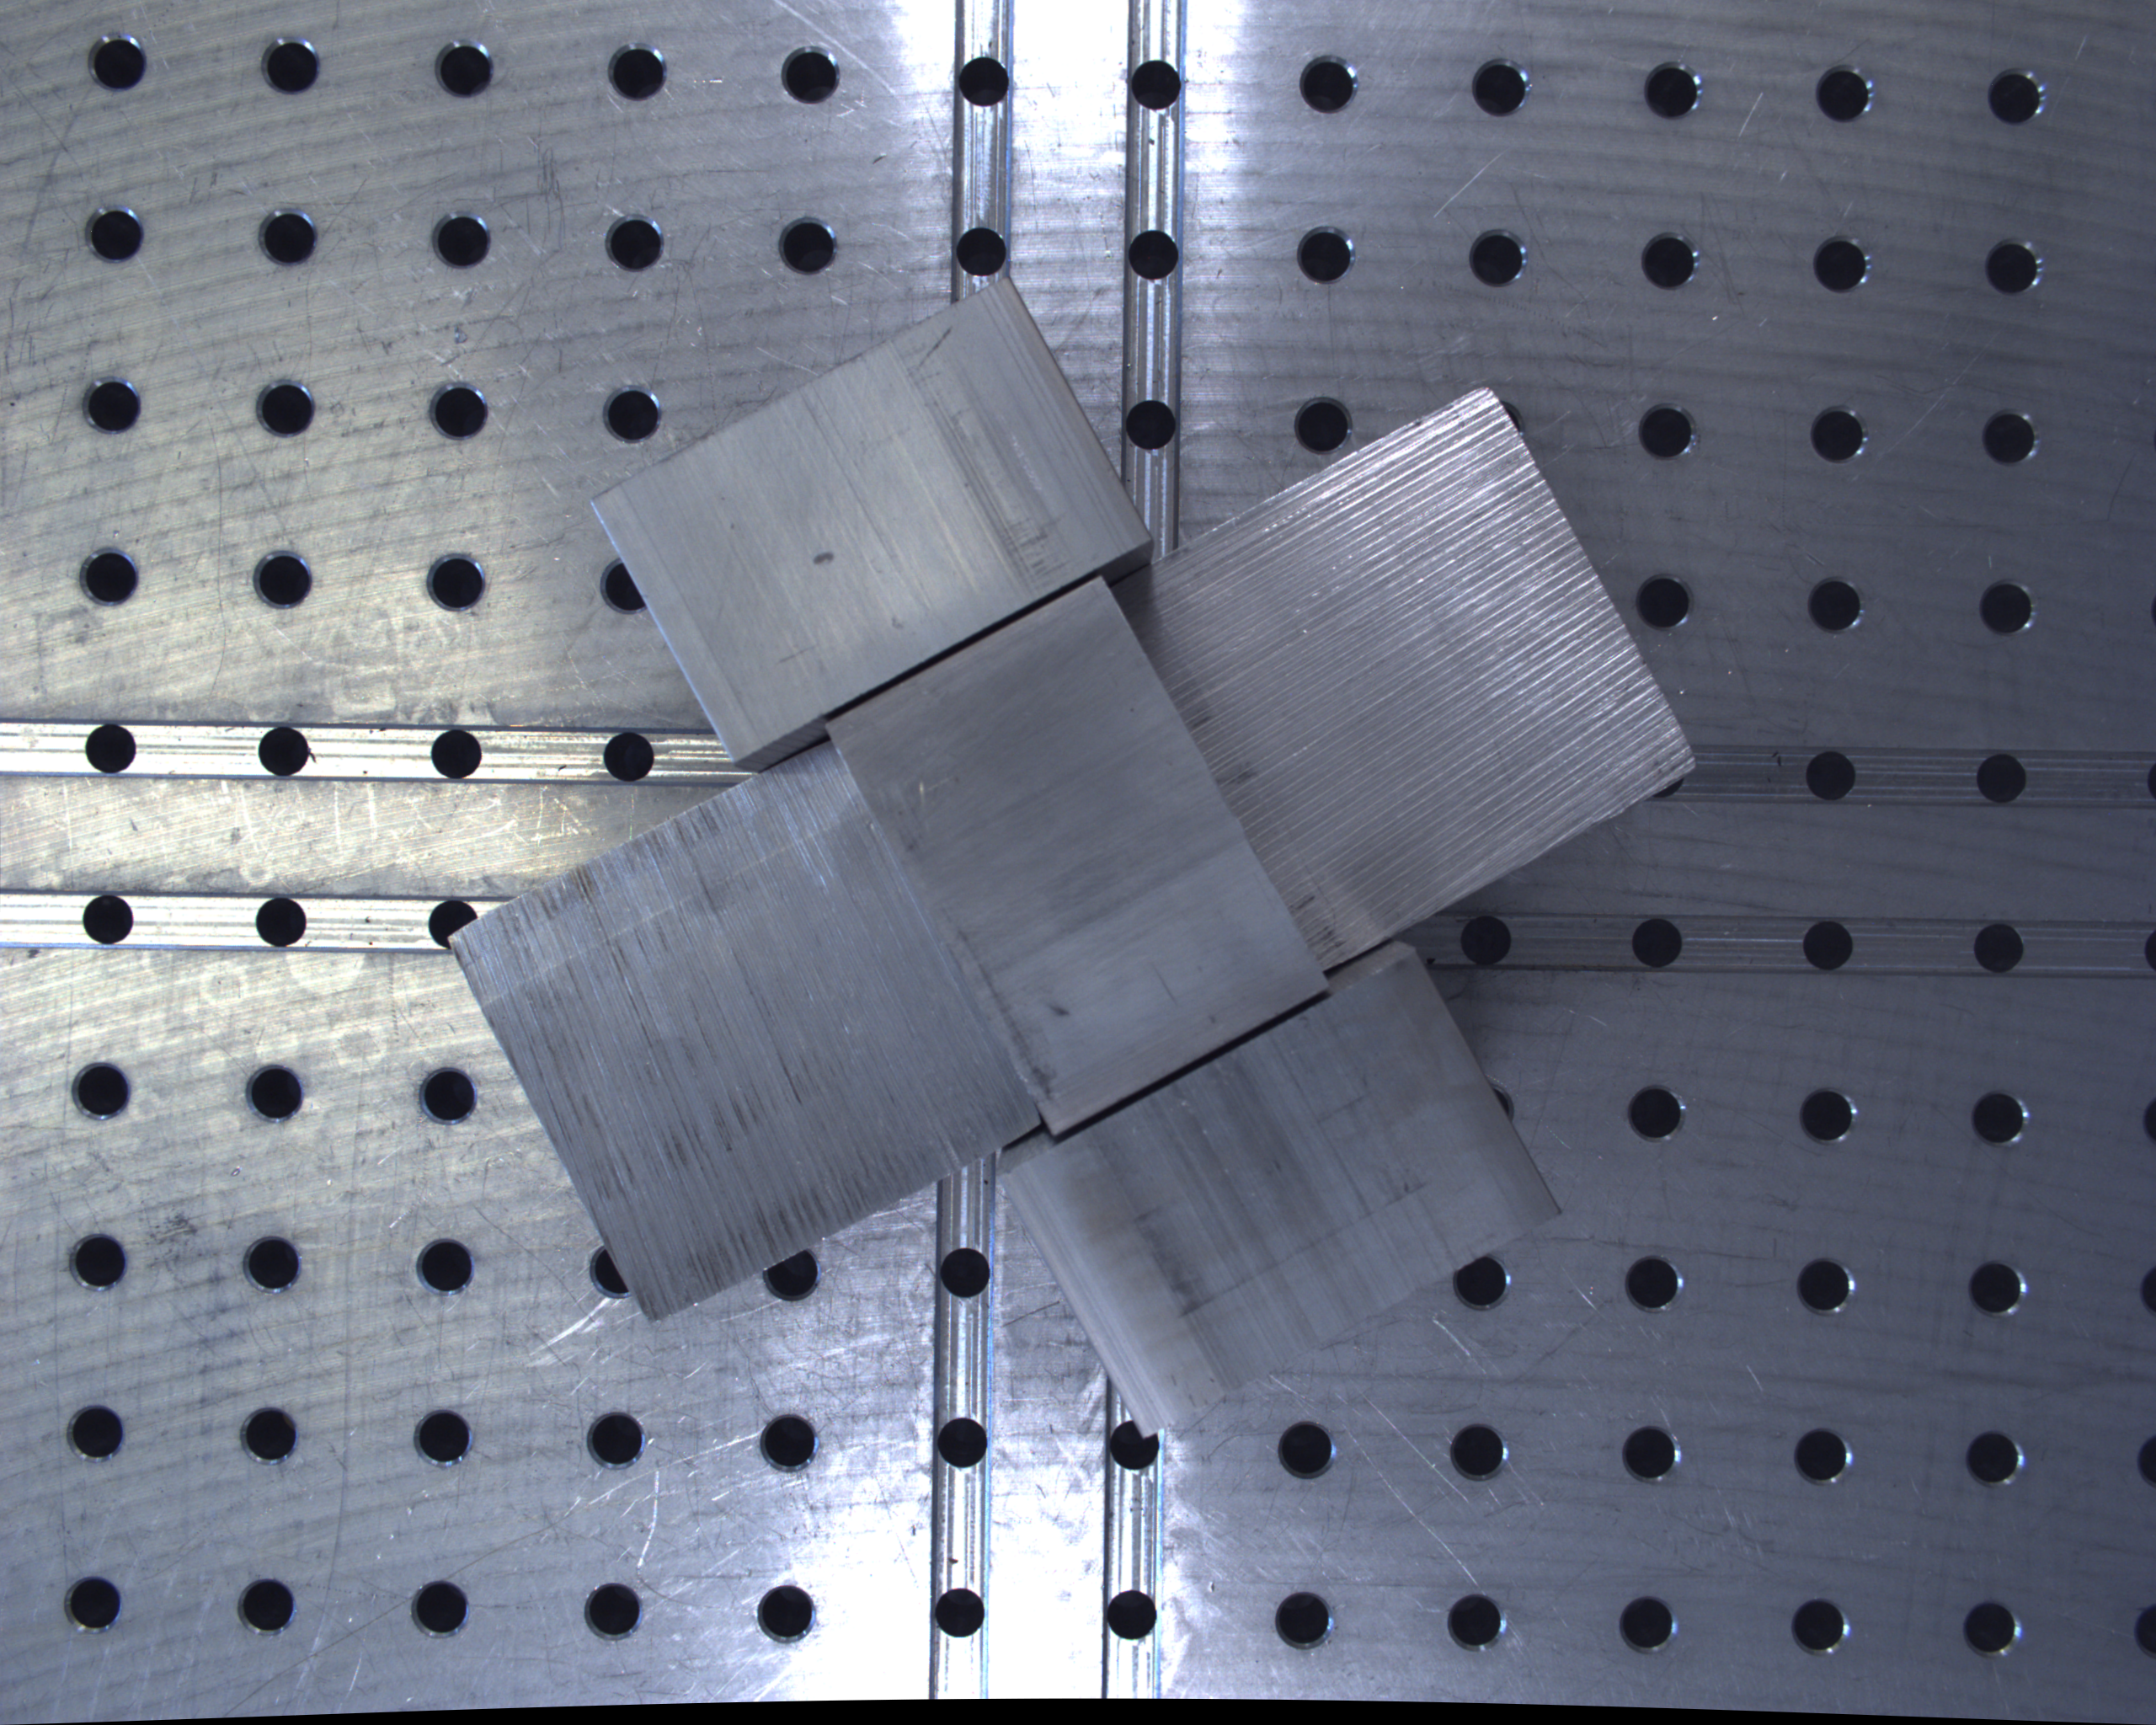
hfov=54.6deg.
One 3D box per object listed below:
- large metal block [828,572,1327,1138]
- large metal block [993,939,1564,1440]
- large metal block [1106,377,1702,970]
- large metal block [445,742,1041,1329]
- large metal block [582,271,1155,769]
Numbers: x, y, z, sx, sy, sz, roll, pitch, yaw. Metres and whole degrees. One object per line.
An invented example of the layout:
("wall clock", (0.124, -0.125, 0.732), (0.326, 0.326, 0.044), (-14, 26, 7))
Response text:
("large metal block", (0.000, -0.002, 0.386), (0.050, 0.080, 0.080), (-29, 90, 0))
("large metal block", (0.033, 0.055, 0.386), (0.080, 0.080, 0.050), (-29, 90, -1))
("large metal block", (0.058, -0.034, 0.400), (0.080, 0.050, 0.080), (-29, 92, 0))
("large metal block", (-0.060, 0.031, 0.401), (0.080, 0.050, 0.080), (-27, 90, 0))
("large metal block", (-0.034, -0.057, 0.385), (0.080, 0.080, 0.050), (-28, 90, 0))
